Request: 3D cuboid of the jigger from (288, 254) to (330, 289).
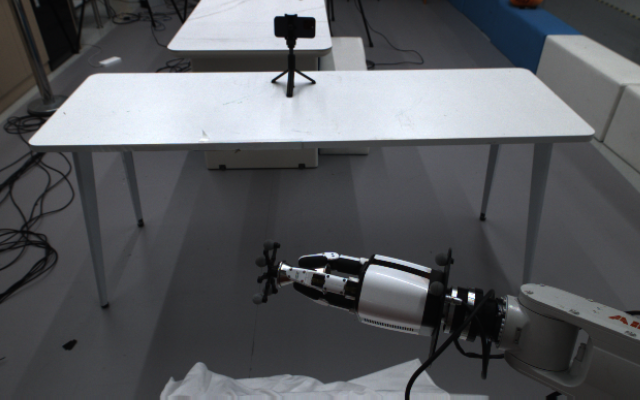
[{"bbox_3d":[-0.016,0.105,0.687,0.071,0.043,0.043,5,34,14],"label":"jigger"}]
